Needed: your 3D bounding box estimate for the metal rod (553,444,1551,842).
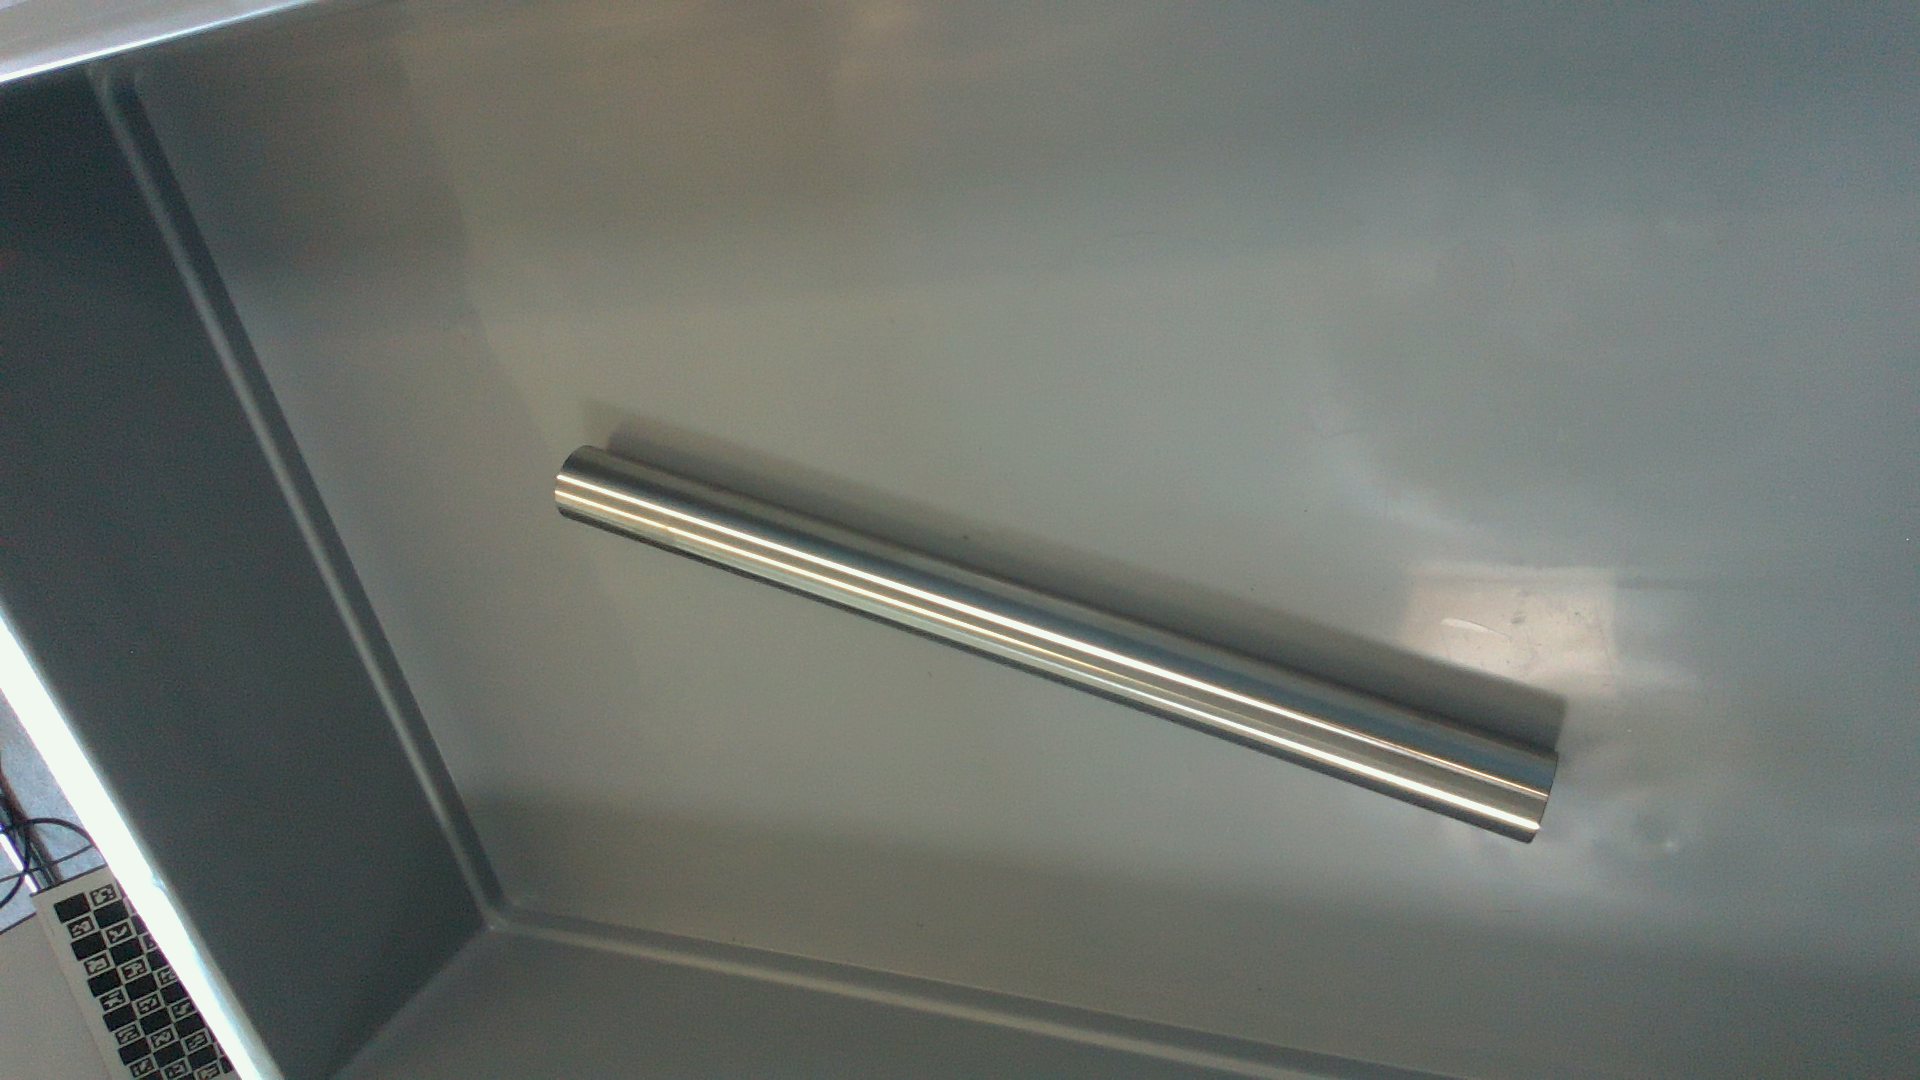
[{"bbox_3d":[0.012,0.023,0.399,0.299,0.025,0.025,17,125,18],"label":"metal rod"}]
